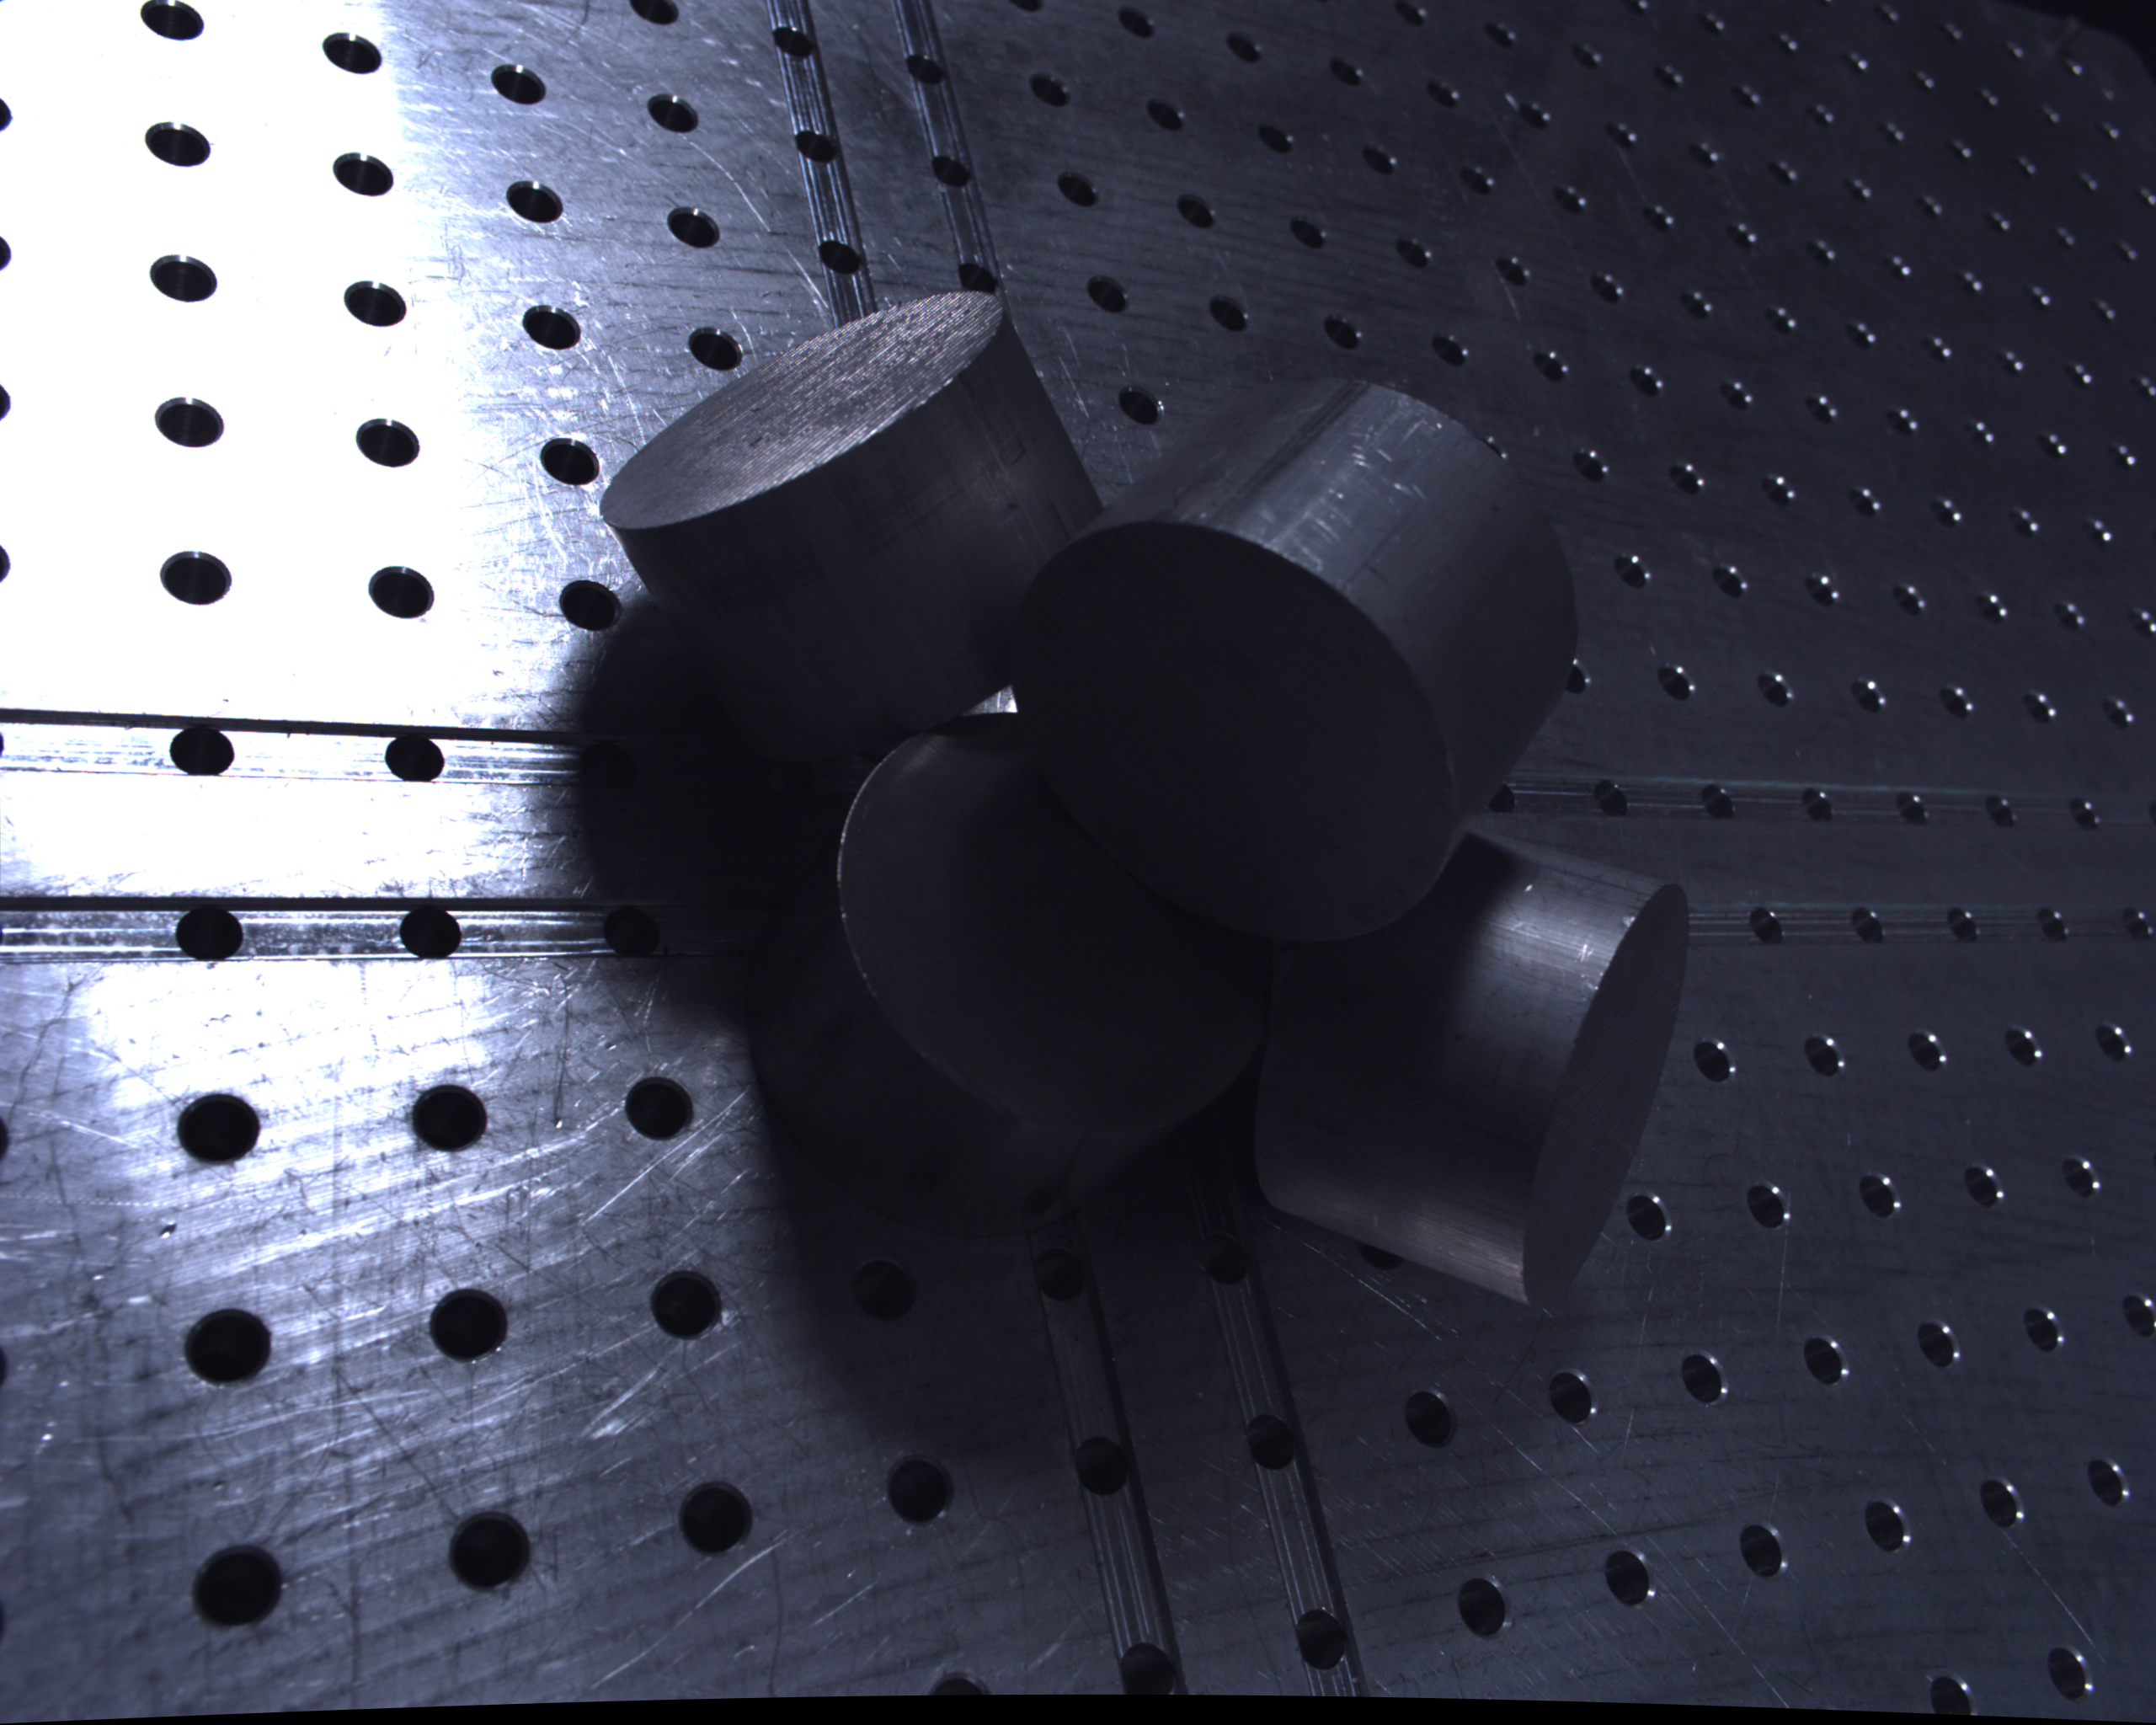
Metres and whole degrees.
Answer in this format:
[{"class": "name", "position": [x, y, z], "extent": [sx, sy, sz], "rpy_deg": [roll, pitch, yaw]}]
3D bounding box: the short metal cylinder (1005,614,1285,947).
[{"class": "short metal cylinder", "position": [0.030, -0.026, 0.425], "extent": [0.081, 0.050, 0.080], "rpy_deg": [14, 56, -21]}]

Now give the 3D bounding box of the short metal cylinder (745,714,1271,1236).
[{"class": "short metal cylinder", "position": [-0.013, 0.020, 0.373], "extent": [0.081, 0.050, 0.080], "rpy_deg": [14, 56, -21]}]

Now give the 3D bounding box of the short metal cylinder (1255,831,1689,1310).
[{"class": "short metal cylinder", "position": [0.074, 0.035, 0.384], "extent": [0.050, 0.079, 0.080], "rpy_deg": [18, 45, 27]}]

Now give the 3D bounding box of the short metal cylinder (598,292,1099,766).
[{"class": "short metal cylinder", "position": [-0.039, -0.062, 0.382], "extent": [0.080, 0.080, 0.050], "rpy_deg": [-55, 129, -39]}]

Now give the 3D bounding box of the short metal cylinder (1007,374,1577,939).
[{"class": "short metal cylinder", "position": [0.036, -0.034, 0.348], "extent": [0.080, 0.080, 0.050], "rpy_deg": [41, 51, 0]}]
